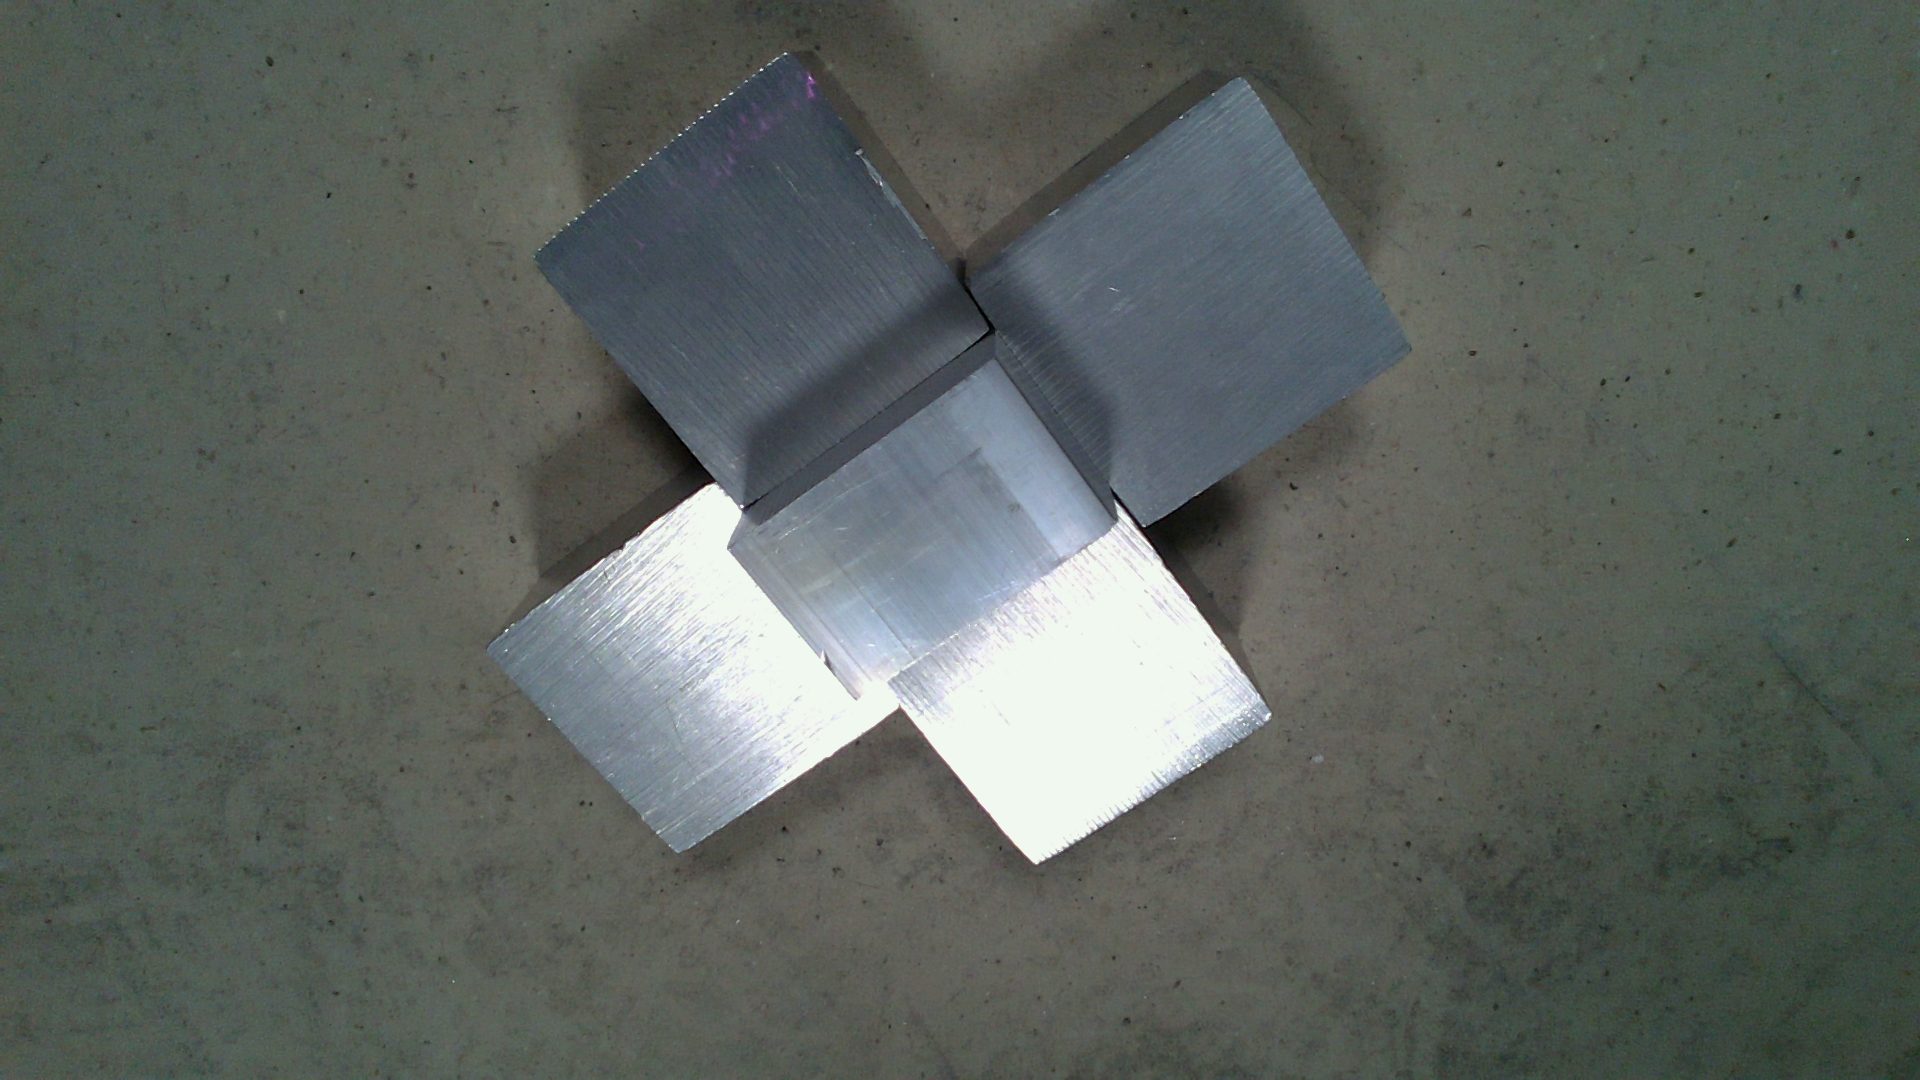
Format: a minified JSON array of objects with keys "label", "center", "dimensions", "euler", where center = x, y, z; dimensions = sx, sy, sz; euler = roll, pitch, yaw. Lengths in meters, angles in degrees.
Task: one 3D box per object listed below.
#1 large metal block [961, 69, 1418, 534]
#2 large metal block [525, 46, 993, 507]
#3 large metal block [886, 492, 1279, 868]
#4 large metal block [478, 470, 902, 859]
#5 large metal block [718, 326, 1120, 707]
[{"label":"large metal block","center":[0.056,-0.063,0.357],"dimensions":[0.080,0.050,0.080],"euler":[-35,107,12]},{"label":"large metal block","center":[-0.048,-0.068,0.355],"dimensions":[0.080,0.050,0.080],"euler":[-35,107,12]},{"label":"large metal block","center":[0.030,0.031,0.392],"dimensions":[0.080,0.050,0.080],"euler":[-35,107,12]},{"label":"large metal block","center":[-0.071,0.028,0.390],"dimensions":[0.080,0.050,0.080],"euler":[-35,107,12]},{"label":"large metal block","center":[-0.010,-0.014,0.359],"dimensions":[0.080,0.080,0.050],"euler":[-35,106,12]}]
